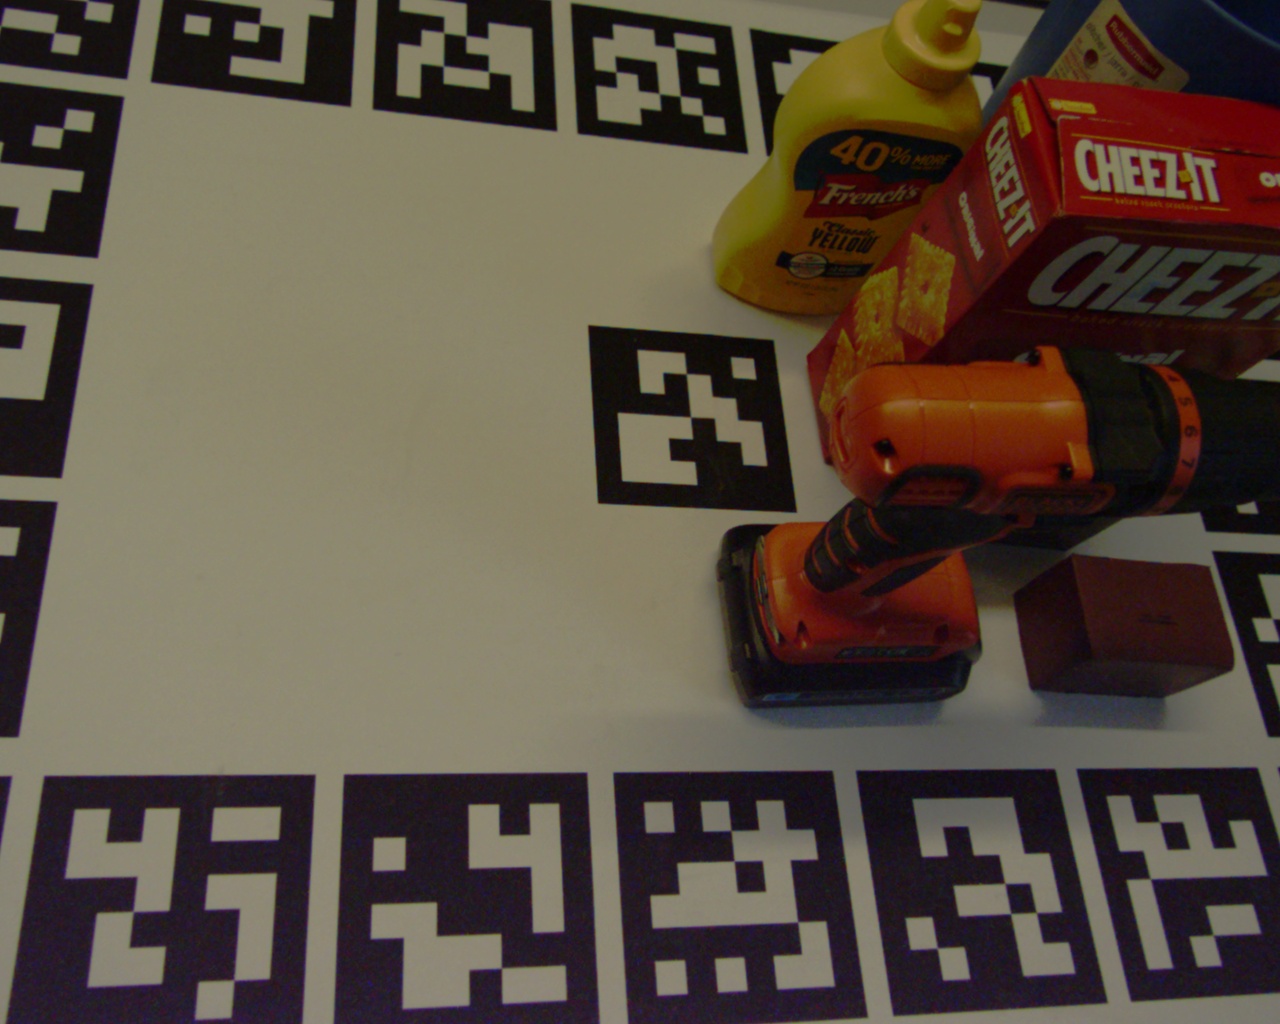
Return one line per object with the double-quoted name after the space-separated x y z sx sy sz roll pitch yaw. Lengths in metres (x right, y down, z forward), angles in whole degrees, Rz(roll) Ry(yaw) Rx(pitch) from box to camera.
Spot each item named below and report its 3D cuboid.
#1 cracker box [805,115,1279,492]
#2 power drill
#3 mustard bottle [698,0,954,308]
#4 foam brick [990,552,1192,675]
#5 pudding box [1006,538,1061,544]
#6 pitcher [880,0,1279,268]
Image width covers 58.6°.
0.194 -0.085 0.545 0.163 0.214 0.072 -2 66 -13 "cracker box"
0.140 0.010 0.471 0.183 0.187 0.057 0 64 -15 "power drill"
0.100 -0.177 0.570 0.096 0.192 0.058 13 65 -9 "mustard bottle"
0.231 0.054 0.589 0.077 0.051 0.053 3 68 -13 "foam brick"
0.178 -0.019 0.572 0.113 0.090 0.039 1 65 -11 "pudding box"
0.231 -0.180 0.591 0.188 0.243 0.133 6 65 -10 "pitcher"
